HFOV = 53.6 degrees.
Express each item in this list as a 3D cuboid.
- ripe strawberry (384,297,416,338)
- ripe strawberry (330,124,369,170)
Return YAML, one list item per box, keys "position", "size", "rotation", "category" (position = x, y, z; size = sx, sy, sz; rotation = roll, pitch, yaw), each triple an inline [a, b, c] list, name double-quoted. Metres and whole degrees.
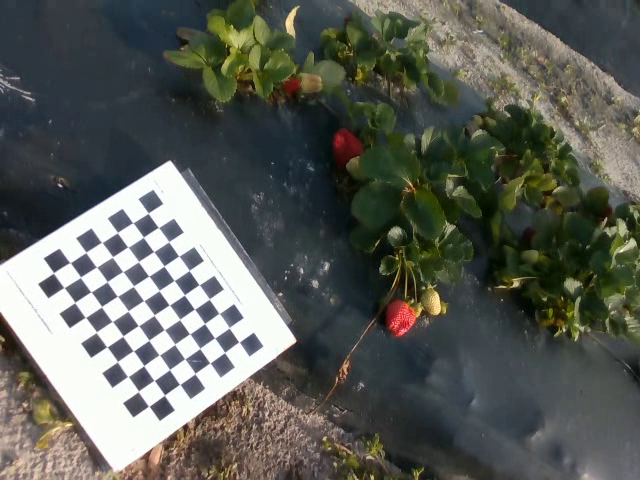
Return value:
- position: [0.116, 0.111, 0.893]
  size: [0.047, 0.050, 0.034]
  rotation: [35, -19, -6]
  category: "ripe strawberry"
- position: [0.041, -0.152, 1.012]
  size: [0.058, 0.071, 0.057]
  rotation: [-25, 23, -14]
  category: "ripe strawberry"
